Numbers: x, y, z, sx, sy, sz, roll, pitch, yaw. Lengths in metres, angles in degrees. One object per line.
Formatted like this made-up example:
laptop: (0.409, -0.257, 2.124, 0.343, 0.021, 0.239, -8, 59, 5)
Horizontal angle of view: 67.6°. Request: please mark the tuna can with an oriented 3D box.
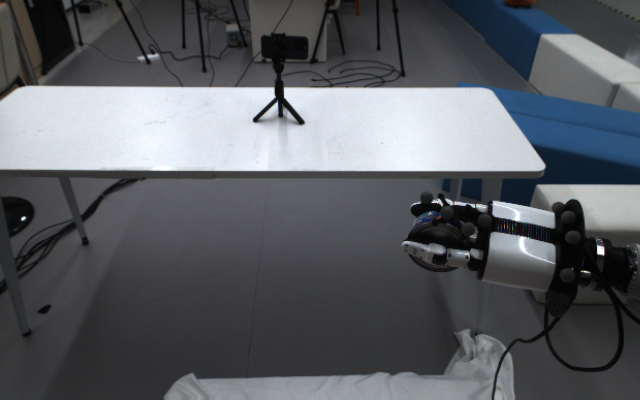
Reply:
tuna can: (0.168, 0.054, 0.676, 0.085, 0.085, 0.034, 12, 33, 14)
